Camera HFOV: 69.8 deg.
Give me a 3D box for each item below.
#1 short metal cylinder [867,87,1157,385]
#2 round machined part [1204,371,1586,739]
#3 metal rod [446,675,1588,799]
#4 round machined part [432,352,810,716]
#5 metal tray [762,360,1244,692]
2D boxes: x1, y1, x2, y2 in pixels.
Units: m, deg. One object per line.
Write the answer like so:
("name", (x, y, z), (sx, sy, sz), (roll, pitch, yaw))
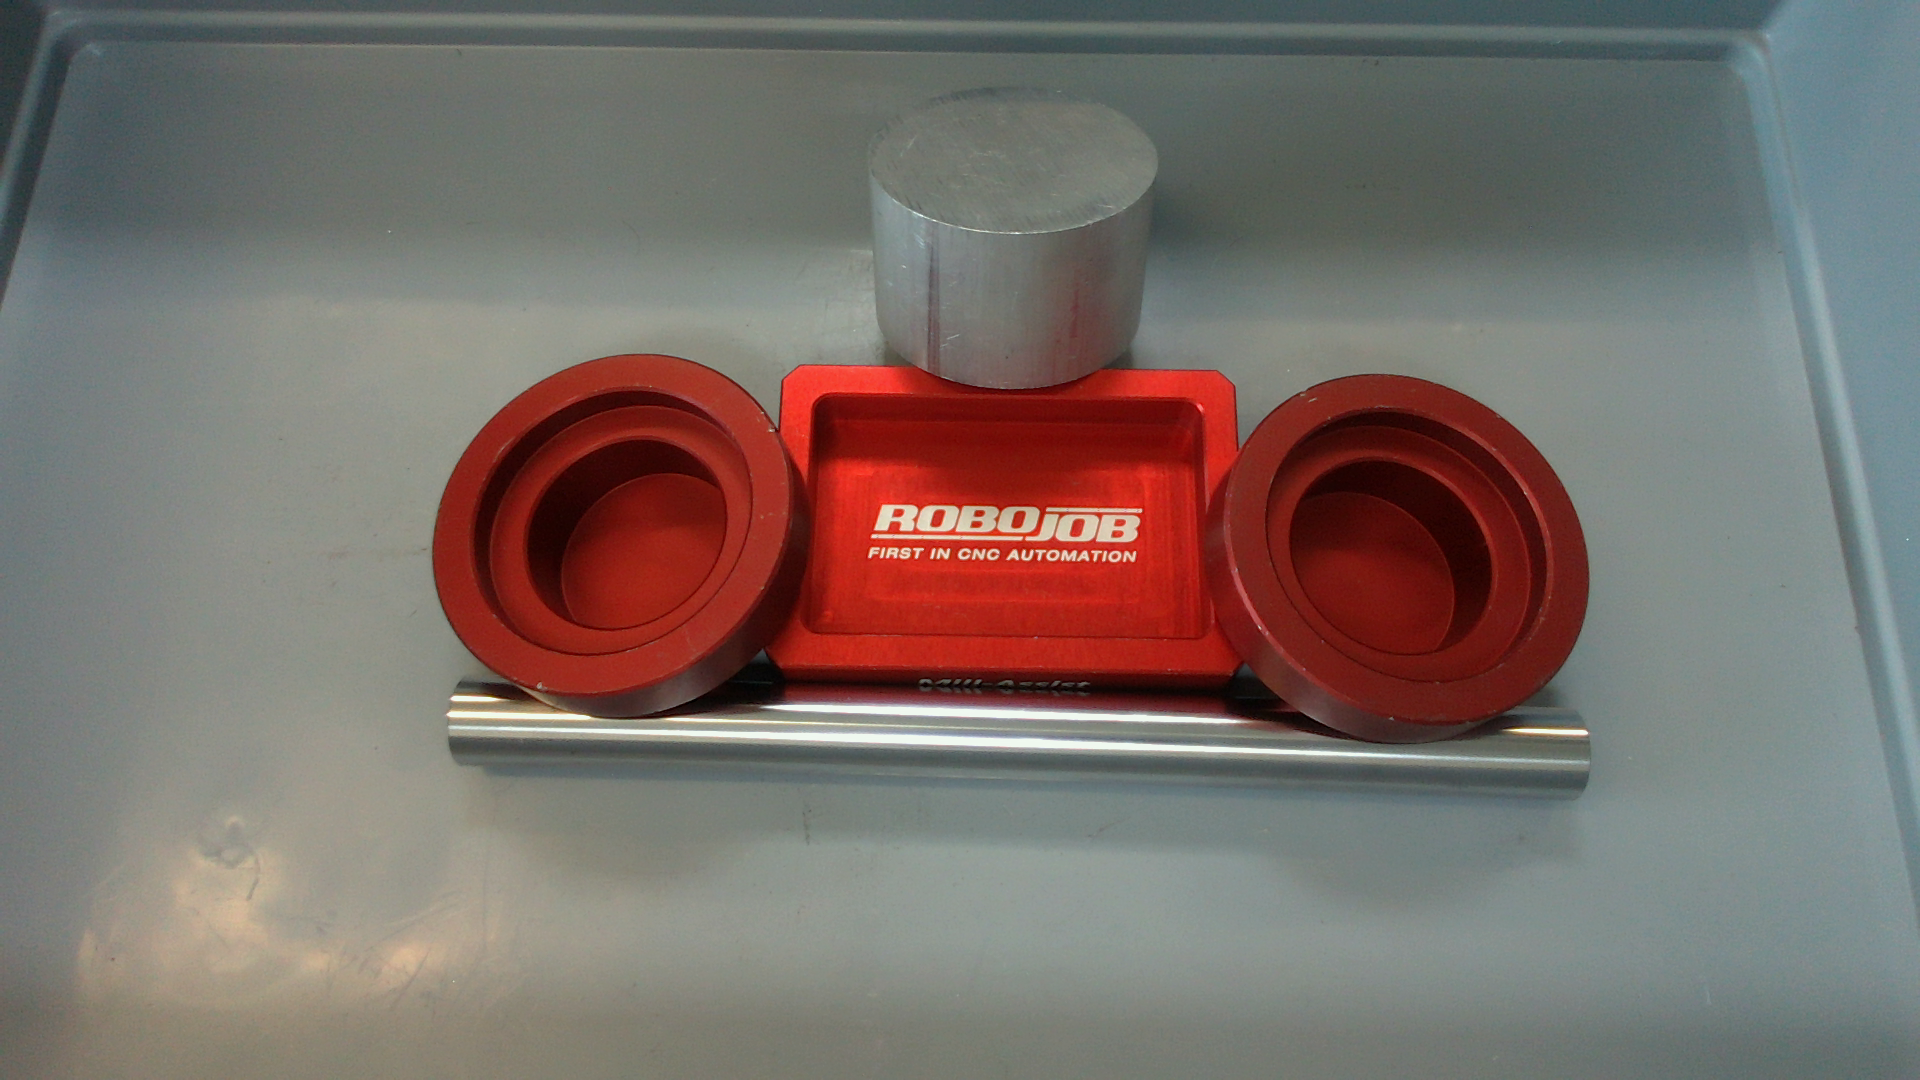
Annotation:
("short metal cylinder", (0.014, -0.089, 0.397), (0.080, 0.050, 0.080), (0, 43, 0))
("round machined part", (0.114, 0.007, 0.377), (0.098, 0.042, 0.098), (3, 68, -7))
("metal rod", (0.015, 0.053, 0.374), (0.300, 0.025, 0.025), (2, 70, 0))
("round machined part", (-0.089, 0.001, 0.378), (0.098, 0.042, 0.098), (-3, 67, 8))
("metal tray", (0.013, -0.003, 0.391), (0.130, 0.030, 0.090), (1, 70, 0))
